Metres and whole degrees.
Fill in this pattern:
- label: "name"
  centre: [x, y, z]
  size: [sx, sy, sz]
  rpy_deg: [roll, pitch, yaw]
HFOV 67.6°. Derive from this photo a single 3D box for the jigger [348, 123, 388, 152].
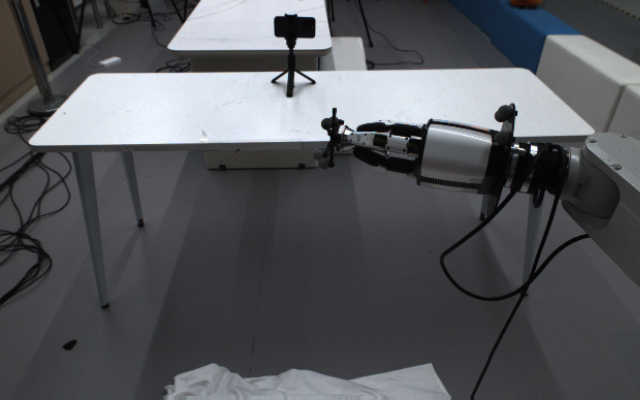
- label: "jigger"
  centre: [0.073, -0.089, 0.698]
  size: [0.071, 0.043, 0.043]
  rpy_deg: [8, 35, 16]
